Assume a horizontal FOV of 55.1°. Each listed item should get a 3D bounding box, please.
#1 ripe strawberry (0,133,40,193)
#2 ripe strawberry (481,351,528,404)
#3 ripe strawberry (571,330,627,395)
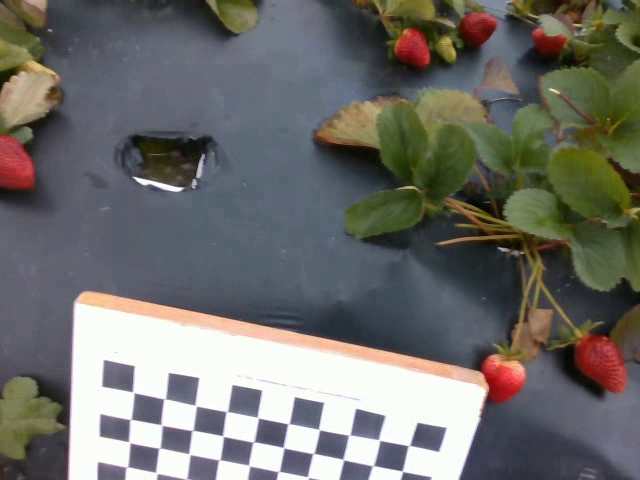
[{"bbox_3d":[-0.243,-0.055,0.467,0.064,0.046,0.048,31,27,24],"label":"ripe strawberry"},{"bbox_3d":[0.142,0.108,0.468,0.036,0.041,0.027,14,1,5],"label":"ripe strawberry"},{"bbox_3d":[0.220,0.096,0.478,0.044,0.059,0.041,-31,-6,21],"label":"ripe strawberry"}]
